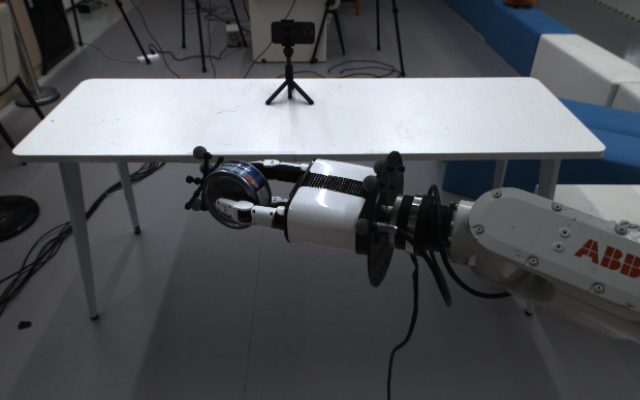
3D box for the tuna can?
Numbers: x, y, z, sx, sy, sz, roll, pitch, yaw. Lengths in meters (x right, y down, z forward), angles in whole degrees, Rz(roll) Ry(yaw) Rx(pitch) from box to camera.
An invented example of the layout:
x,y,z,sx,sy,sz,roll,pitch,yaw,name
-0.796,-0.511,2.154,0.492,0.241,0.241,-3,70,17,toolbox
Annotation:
x,y,z,sx,sy,sz,roll,pitch,yaw,name
-0.103,-0.002,0.620,0.085,0.085,0.034,14,31,16,tuna can
